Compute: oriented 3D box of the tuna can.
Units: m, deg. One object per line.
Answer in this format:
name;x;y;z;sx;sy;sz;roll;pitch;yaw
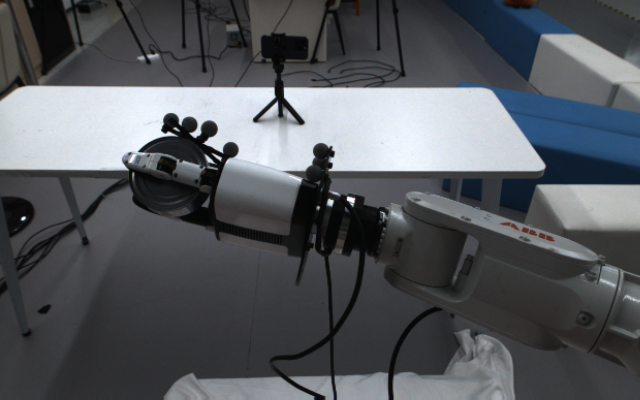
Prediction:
tuna can;-0.162;-0.025;0.538;0.085;0.034;0.085;0;72;0
